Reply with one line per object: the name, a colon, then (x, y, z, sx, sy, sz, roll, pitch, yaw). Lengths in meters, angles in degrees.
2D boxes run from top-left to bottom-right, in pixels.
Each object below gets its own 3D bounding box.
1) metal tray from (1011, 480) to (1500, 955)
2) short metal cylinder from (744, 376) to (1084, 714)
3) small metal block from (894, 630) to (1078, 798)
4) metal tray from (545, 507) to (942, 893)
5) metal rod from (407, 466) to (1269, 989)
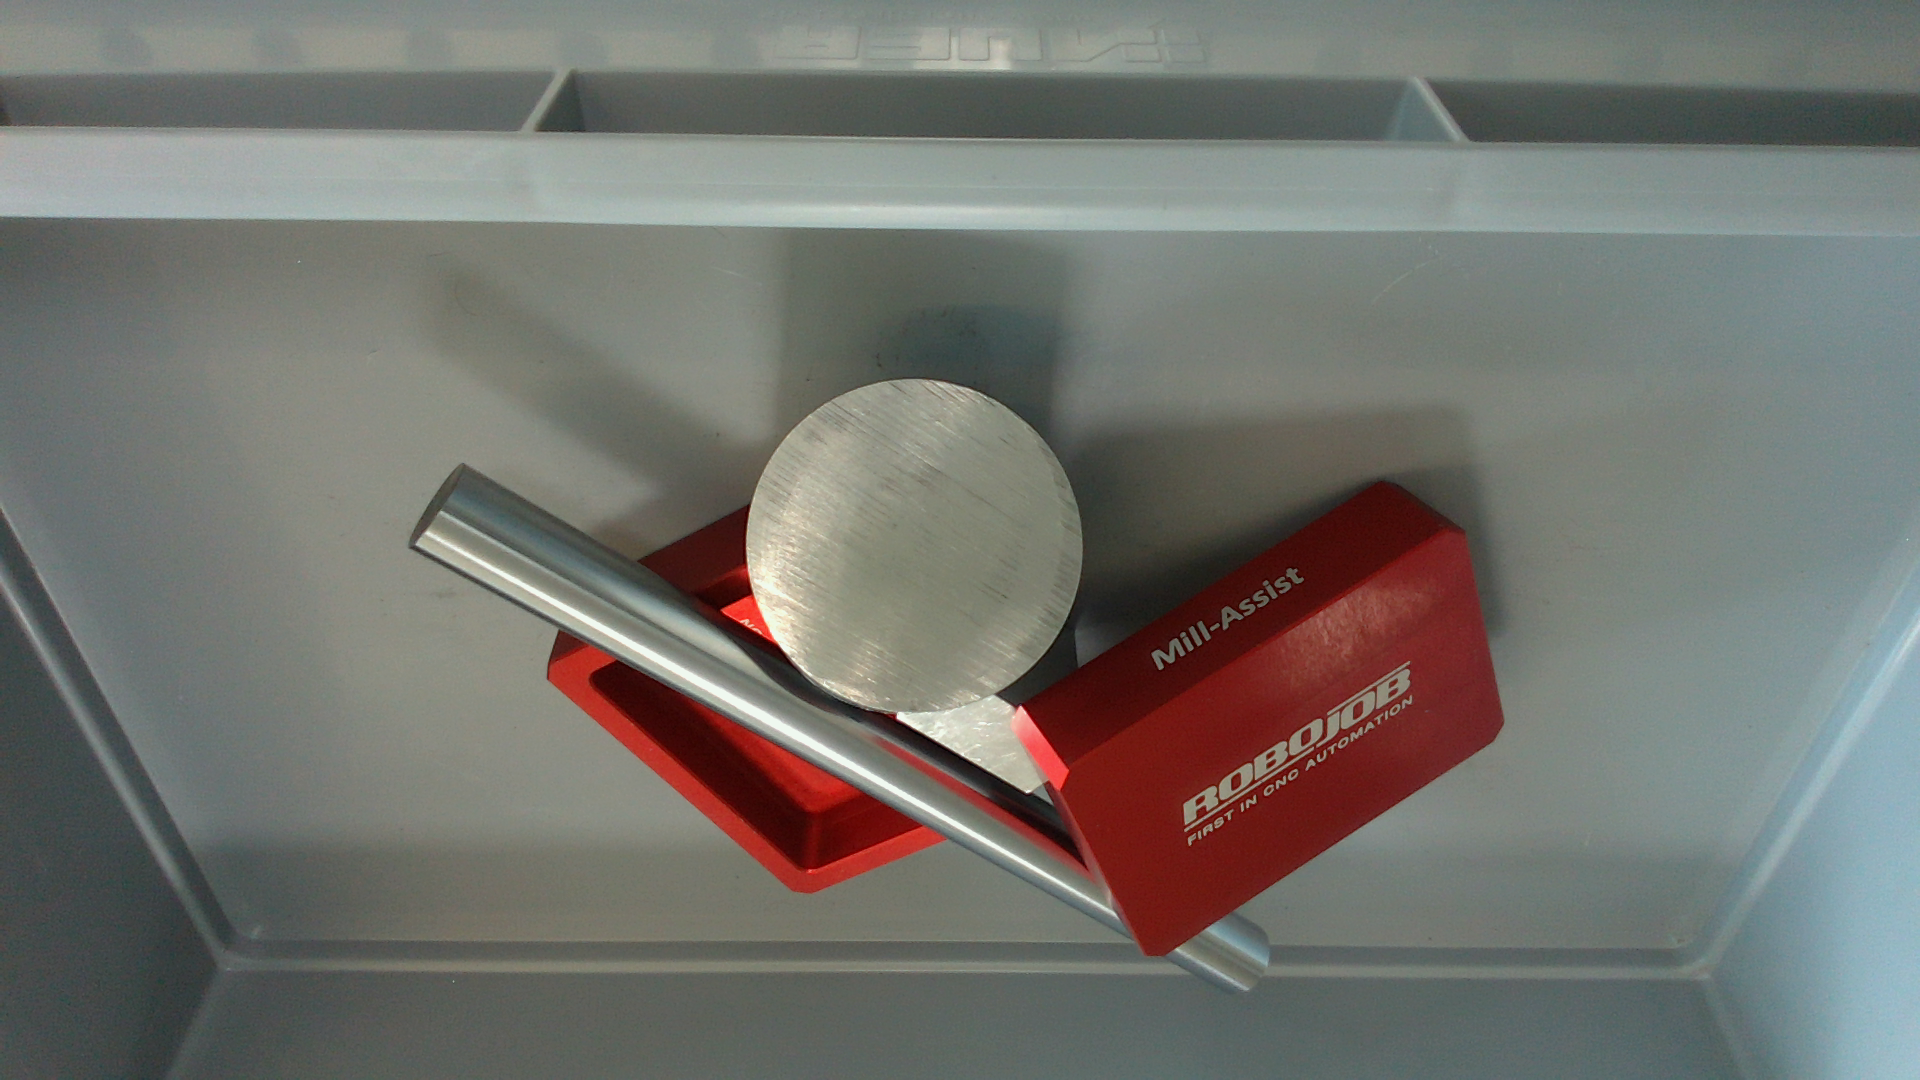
metal tray: (0.089, 0.053, 0.397, 0.130, 0.030, 0.090, -32, 127, -6)
short metal cylinder: (-0.013, 0.004, 0.348, 0.080, 0.080, 0.050, 6, 172, -5)
small metal block: (0.009, 0.040, 0.405, 0.050, 0.050, 0.025, 33, 123, -25)
metal tray: (-0.051, 0.052, 0.429, 0.090, 0.030, 0.130, -25, 126, 20)
metal rod: (-0.017, 0.067, 0.406, 0.301, 0.025, 0.025, 33, 123, -26)
